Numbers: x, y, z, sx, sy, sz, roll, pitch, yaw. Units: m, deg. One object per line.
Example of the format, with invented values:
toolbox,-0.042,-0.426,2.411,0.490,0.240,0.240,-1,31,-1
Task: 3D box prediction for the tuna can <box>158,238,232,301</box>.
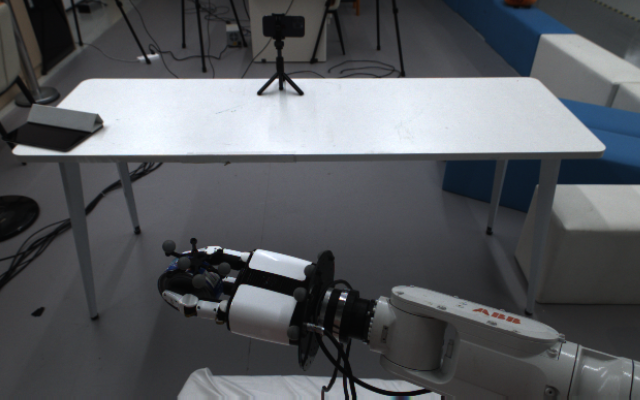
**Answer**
tuna can,-0.179,0.122,0.677,0.085,0.085,0.034,9,34,10
